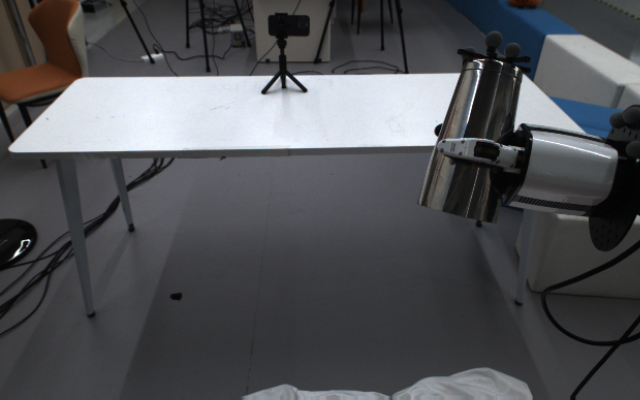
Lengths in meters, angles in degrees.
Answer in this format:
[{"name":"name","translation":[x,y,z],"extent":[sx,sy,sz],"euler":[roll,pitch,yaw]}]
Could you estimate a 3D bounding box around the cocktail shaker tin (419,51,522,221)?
[{"name":"cocktail shaker tin","translation":[0.179,-0.067,0.556],"extent":[0.093,0.170,0.093],"euler":[13,4,-1]}]
